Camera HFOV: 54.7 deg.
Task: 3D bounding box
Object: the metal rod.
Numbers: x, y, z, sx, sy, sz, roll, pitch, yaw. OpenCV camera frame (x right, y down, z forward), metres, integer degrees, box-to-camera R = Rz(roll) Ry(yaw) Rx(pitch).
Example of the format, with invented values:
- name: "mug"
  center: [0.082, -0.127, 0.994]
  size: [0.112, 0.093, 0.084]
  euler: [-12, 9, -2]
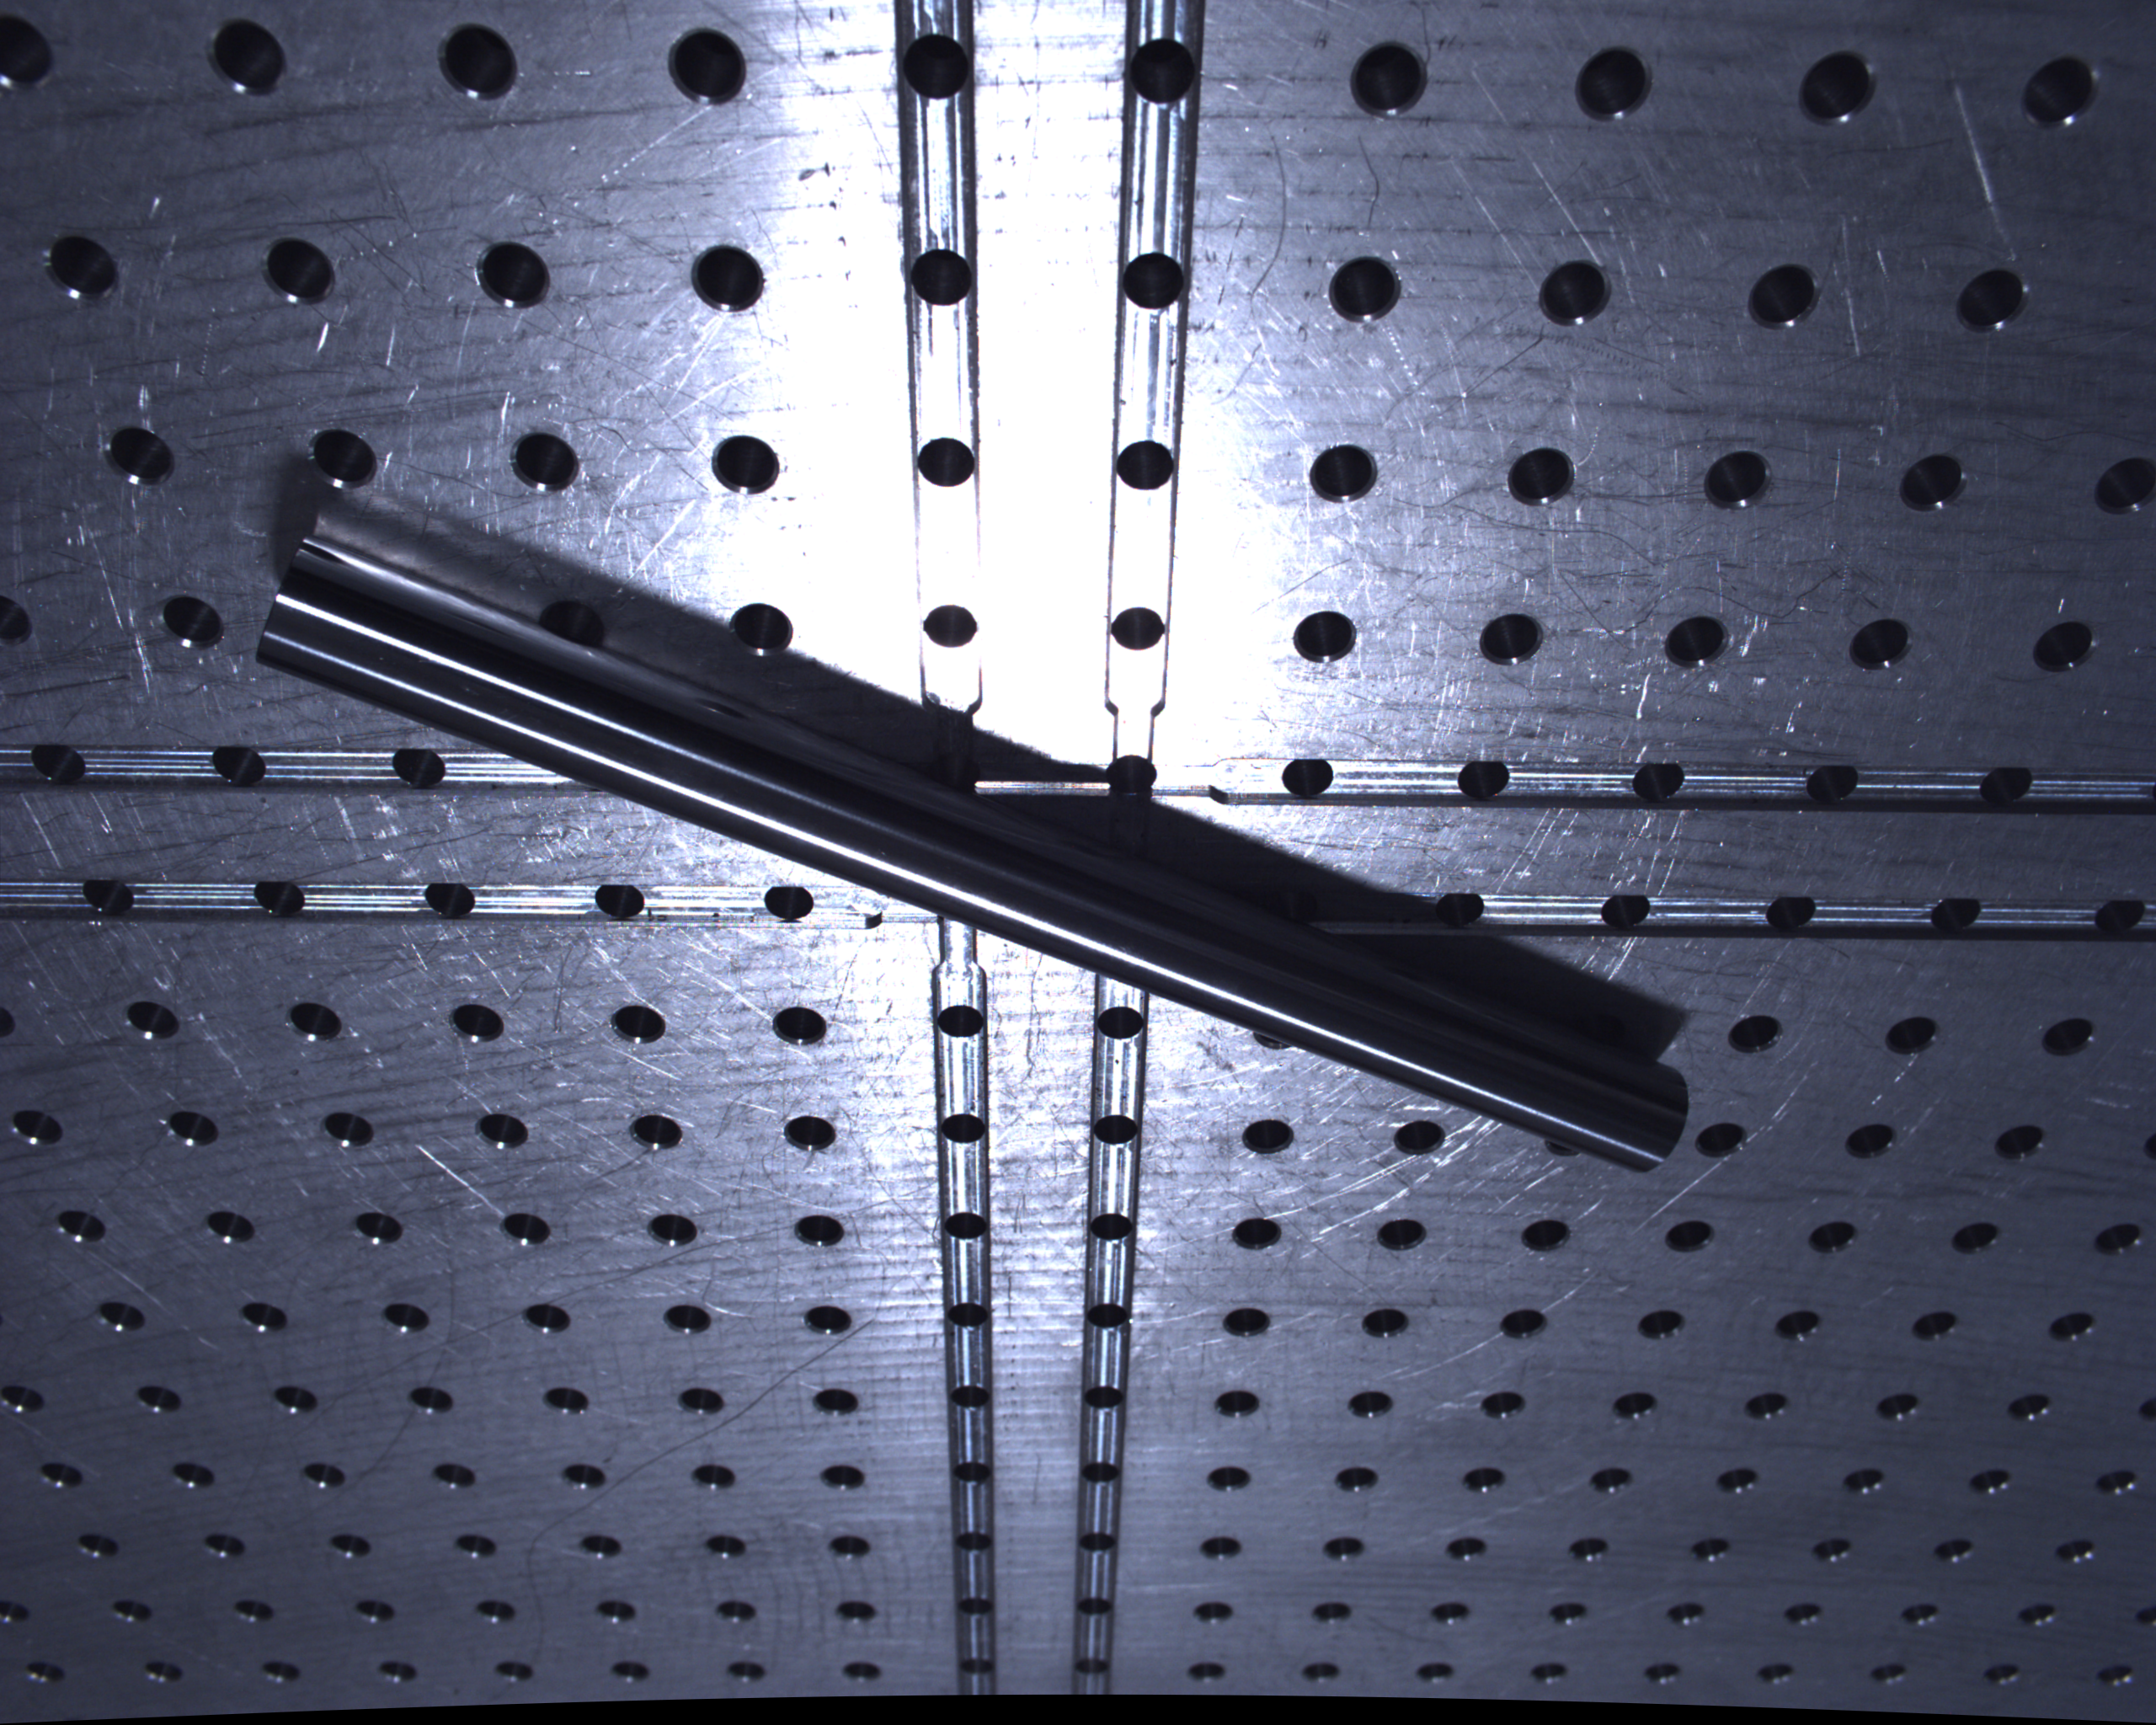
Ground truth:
- name: "metal rod"
  center: [-0.007, 0.005, 0.416]
  size: [0.302, 0.025, 0.025]
  euler: [21, 127, -18]
